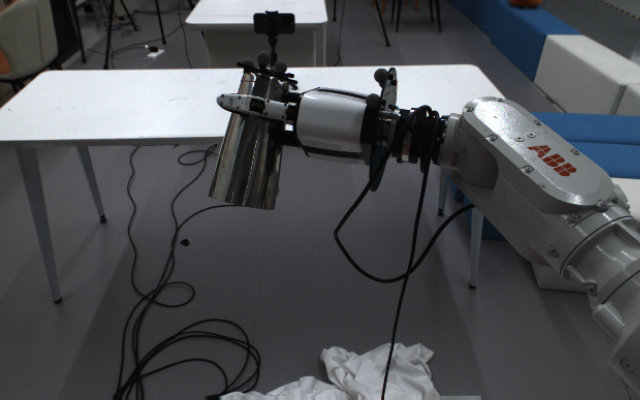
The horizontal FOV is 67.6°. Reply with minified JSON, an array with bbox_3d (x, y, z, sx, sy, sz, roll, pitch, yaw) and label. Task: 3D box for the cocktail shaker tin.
[{"bbox_3d":[-0.089,-0.081,0.660,0.093,0.170,0.093,12,3,-1],"label":"cocktail shaker tin"}]
